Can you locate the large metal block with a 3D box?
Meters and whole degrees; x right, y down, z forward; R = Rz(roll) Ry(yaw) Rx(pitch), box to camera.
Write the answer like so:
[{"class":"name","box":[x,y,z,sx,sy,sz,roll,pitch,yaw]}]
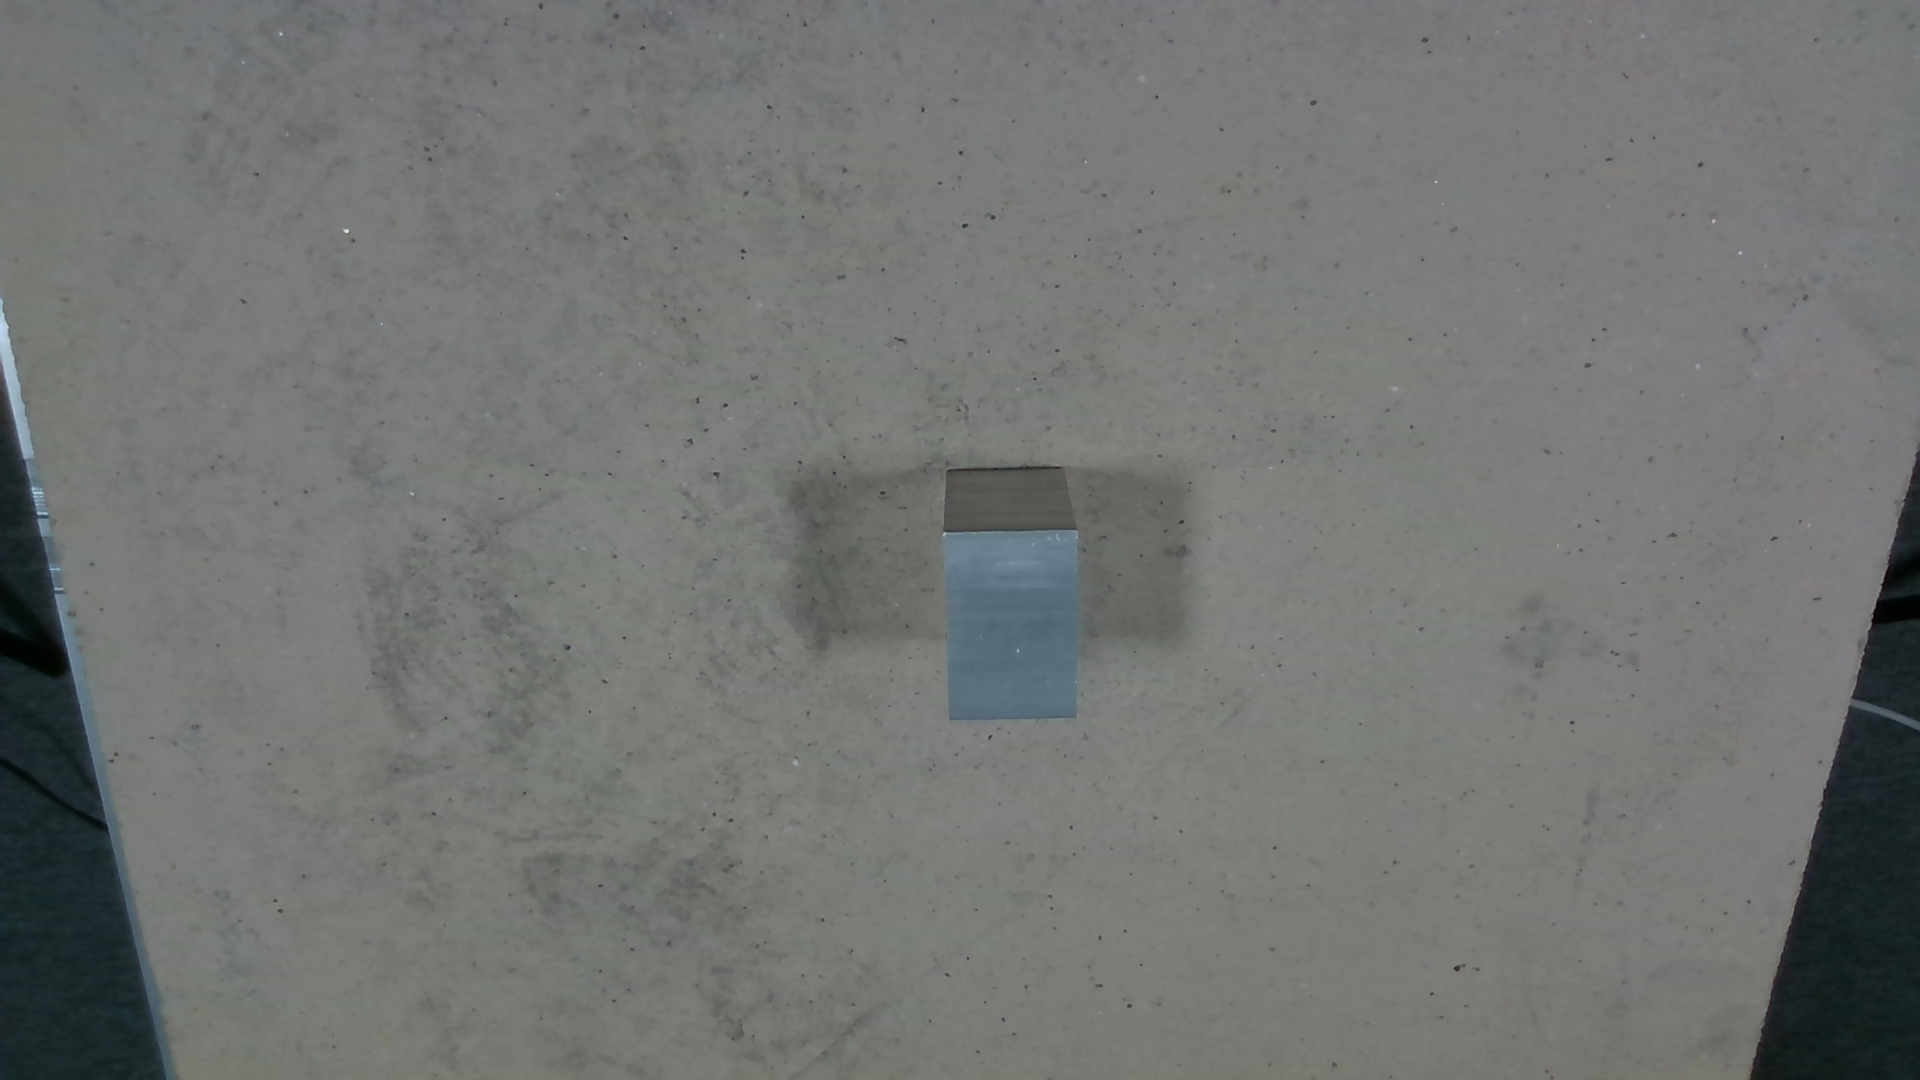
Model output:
[{"class":"large metal block","box":[0.020,0.020,0.563,0.050,0.080,0.080,-1,110,1]}]
